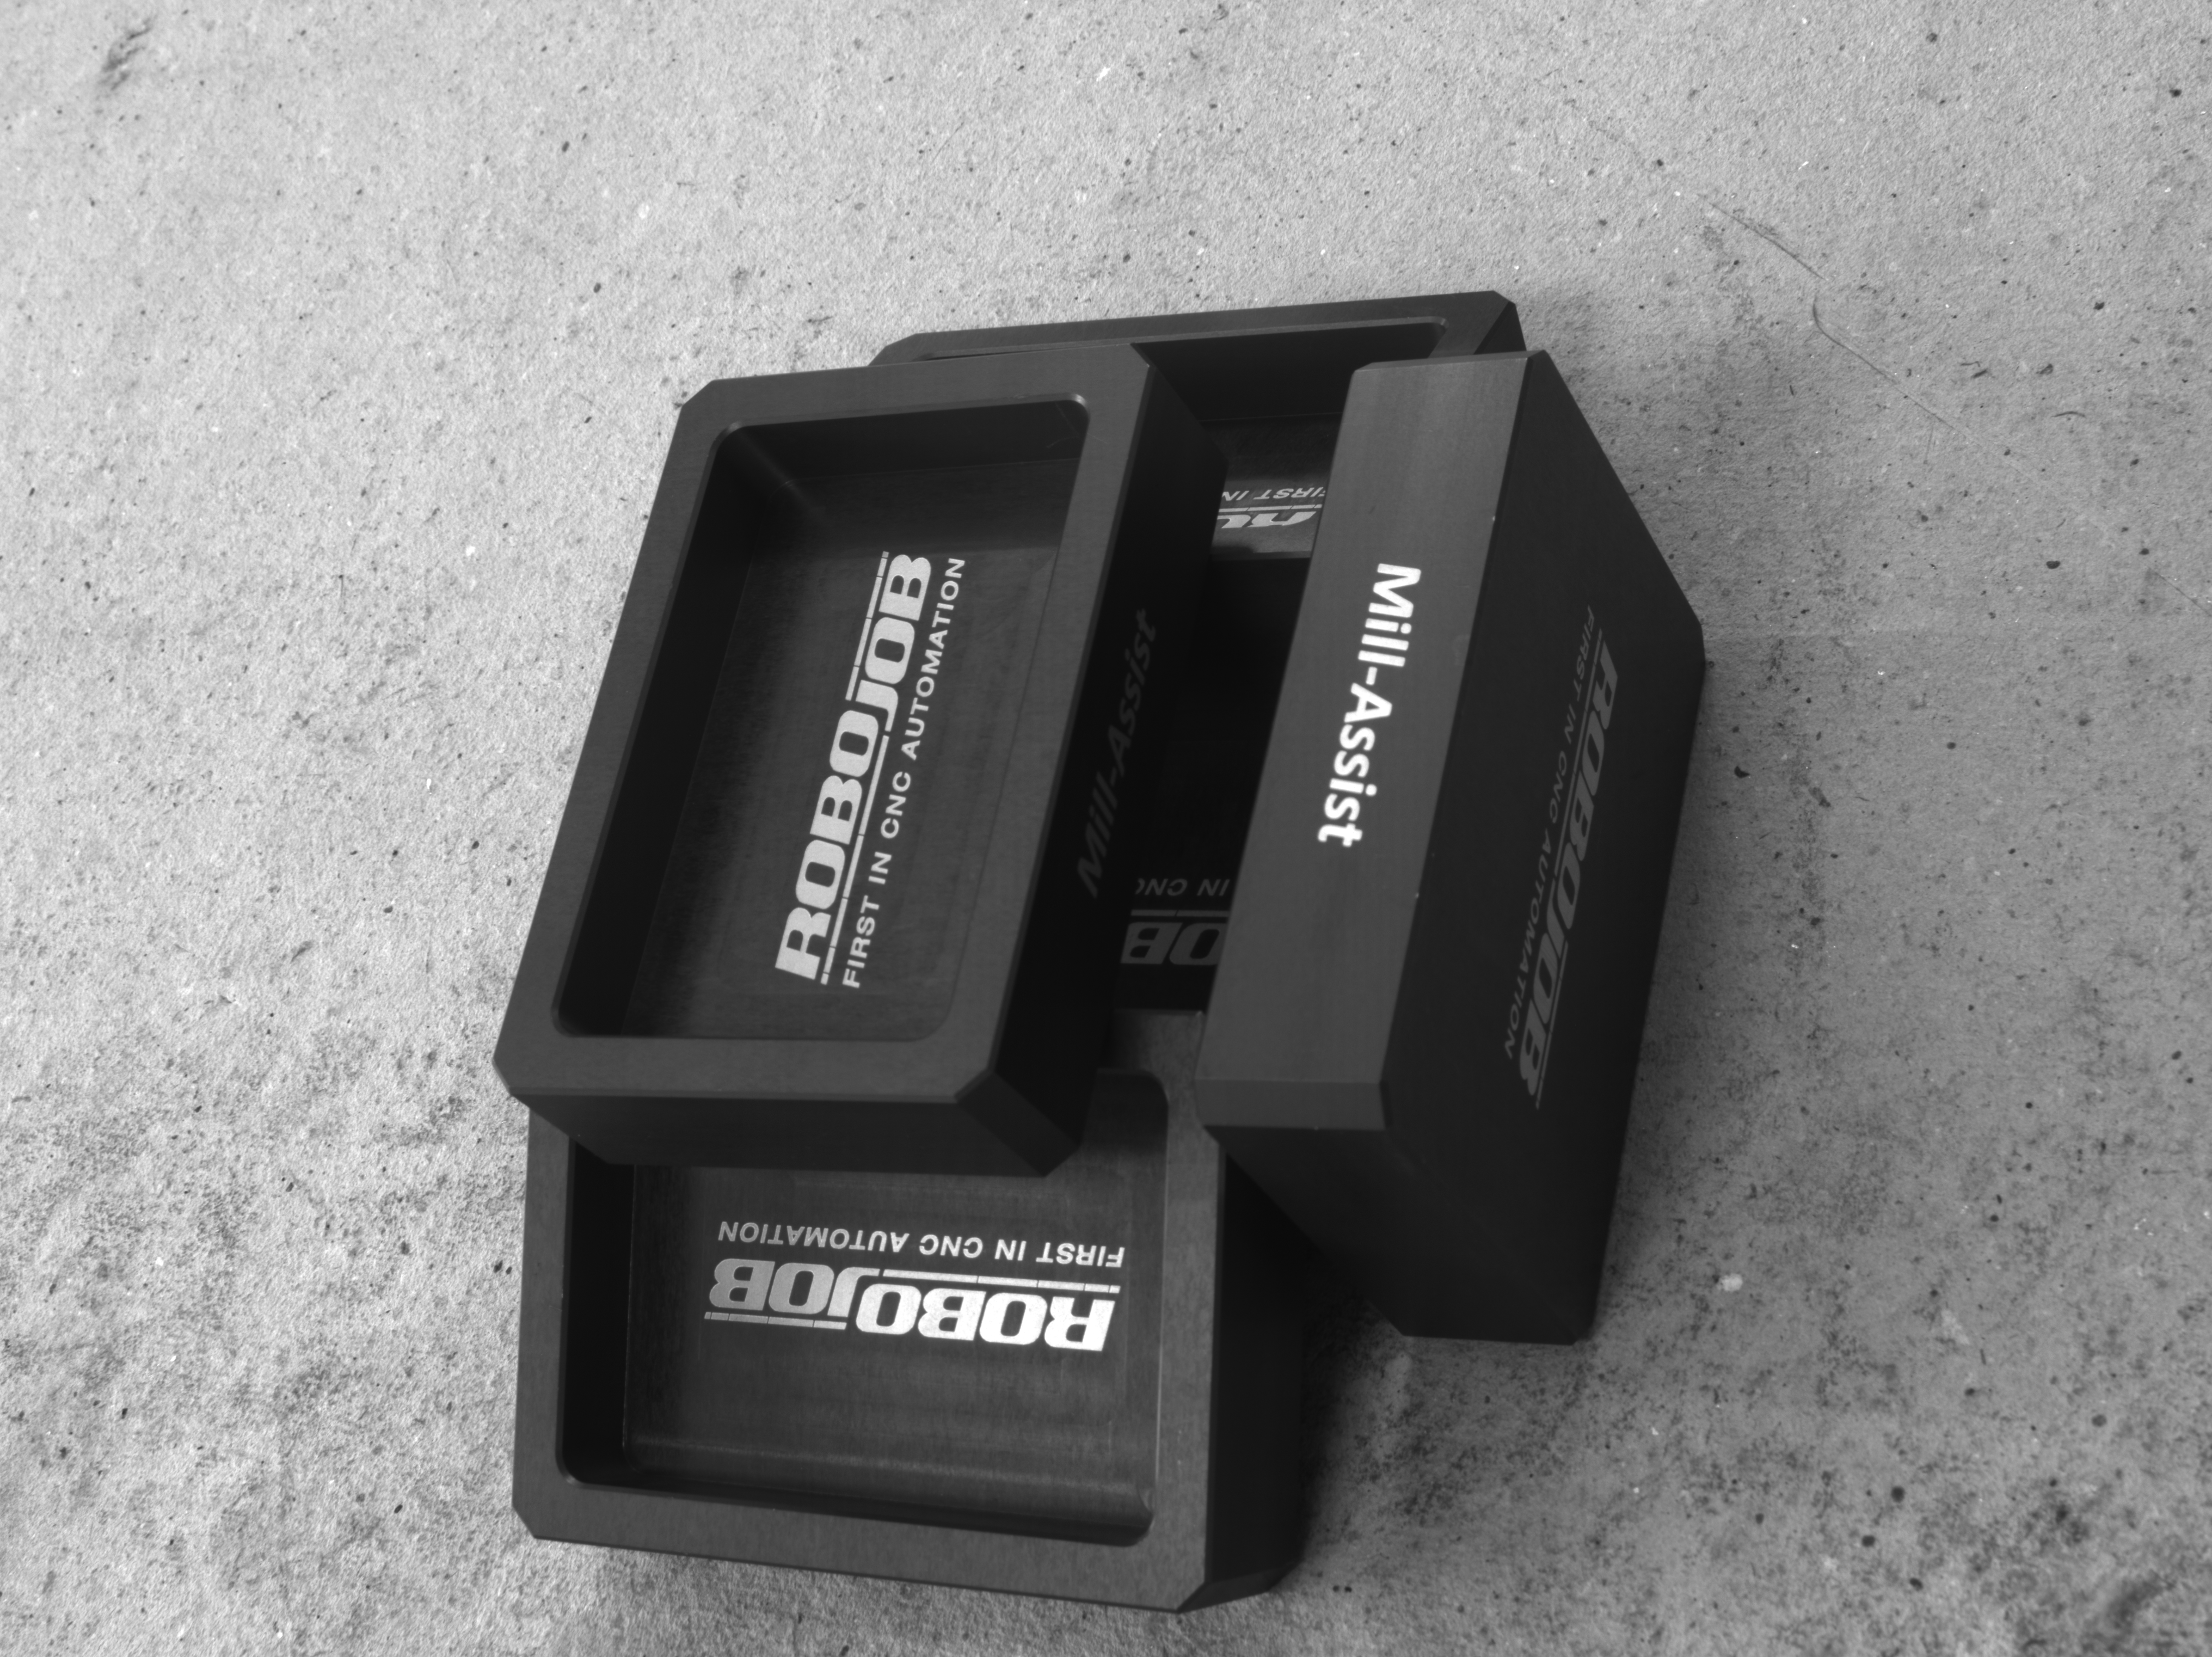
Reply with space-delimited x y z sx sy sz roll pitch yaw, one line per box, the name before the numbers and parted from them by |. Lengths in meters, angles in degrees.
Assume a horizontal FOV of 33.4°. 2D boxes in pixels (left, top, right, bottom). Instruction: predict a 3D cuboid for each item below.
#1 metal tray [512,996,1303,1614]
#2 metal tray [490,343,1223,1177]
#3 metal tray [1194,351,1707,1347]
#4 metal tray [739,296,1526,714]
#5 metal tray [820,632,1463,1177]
metal tray | -0.033 0.073 0.593 0.130 0.030 0.090 0 86 28
metal tray | -0.038 -0.011 0.586 0.090 0.030 0.130 -1 63 28
metal tray | 0.057 0.004 0.570 0.030 0.090 0.130 -1 61 28
metal tray | 0.003 -0.057 0.653 0.130 0.030 0.090 0 35 28
metal tray | -0.002 0.013 0.633 0.130 0.030 0.090 -1 63 28
